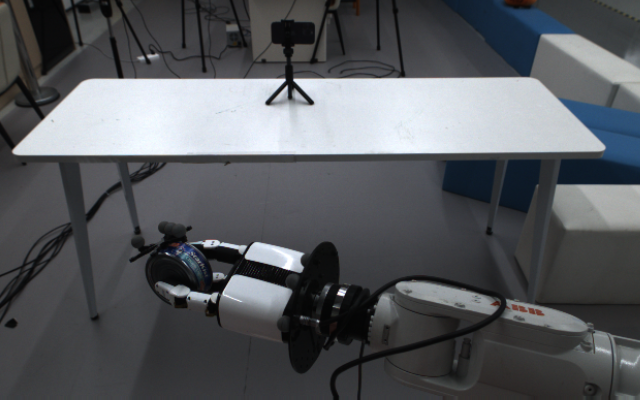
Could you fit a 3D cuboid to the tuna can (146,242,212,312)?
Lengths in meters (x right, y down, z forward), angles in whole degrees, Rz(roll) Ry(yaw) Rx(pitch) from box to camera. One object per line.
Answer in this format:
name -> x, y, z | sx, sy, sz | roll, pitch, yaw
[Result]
tuna can -> -0.184, 0.105, 0.638 | 0.085, 0.085, 0.034 | 15, 30, 17
